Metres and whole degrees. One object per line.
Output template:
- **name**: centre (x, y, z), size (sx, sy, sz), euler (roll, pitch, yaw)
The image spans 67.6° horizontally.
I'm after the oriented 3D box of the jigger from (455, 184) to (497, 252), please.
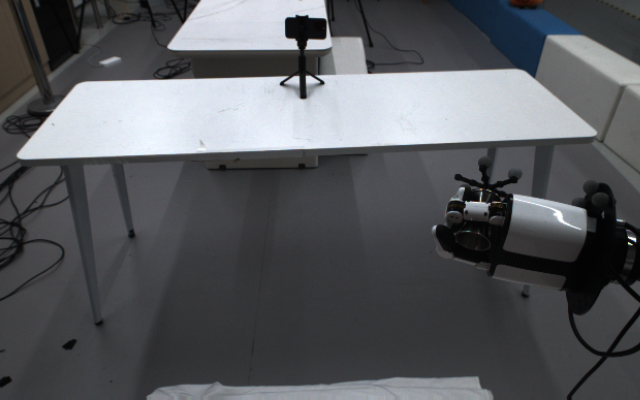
- **jigger**: centre (0.203, 0.021, 0.612), size (0.043, 0.043, 0.071), euler (15, 58, 18)
